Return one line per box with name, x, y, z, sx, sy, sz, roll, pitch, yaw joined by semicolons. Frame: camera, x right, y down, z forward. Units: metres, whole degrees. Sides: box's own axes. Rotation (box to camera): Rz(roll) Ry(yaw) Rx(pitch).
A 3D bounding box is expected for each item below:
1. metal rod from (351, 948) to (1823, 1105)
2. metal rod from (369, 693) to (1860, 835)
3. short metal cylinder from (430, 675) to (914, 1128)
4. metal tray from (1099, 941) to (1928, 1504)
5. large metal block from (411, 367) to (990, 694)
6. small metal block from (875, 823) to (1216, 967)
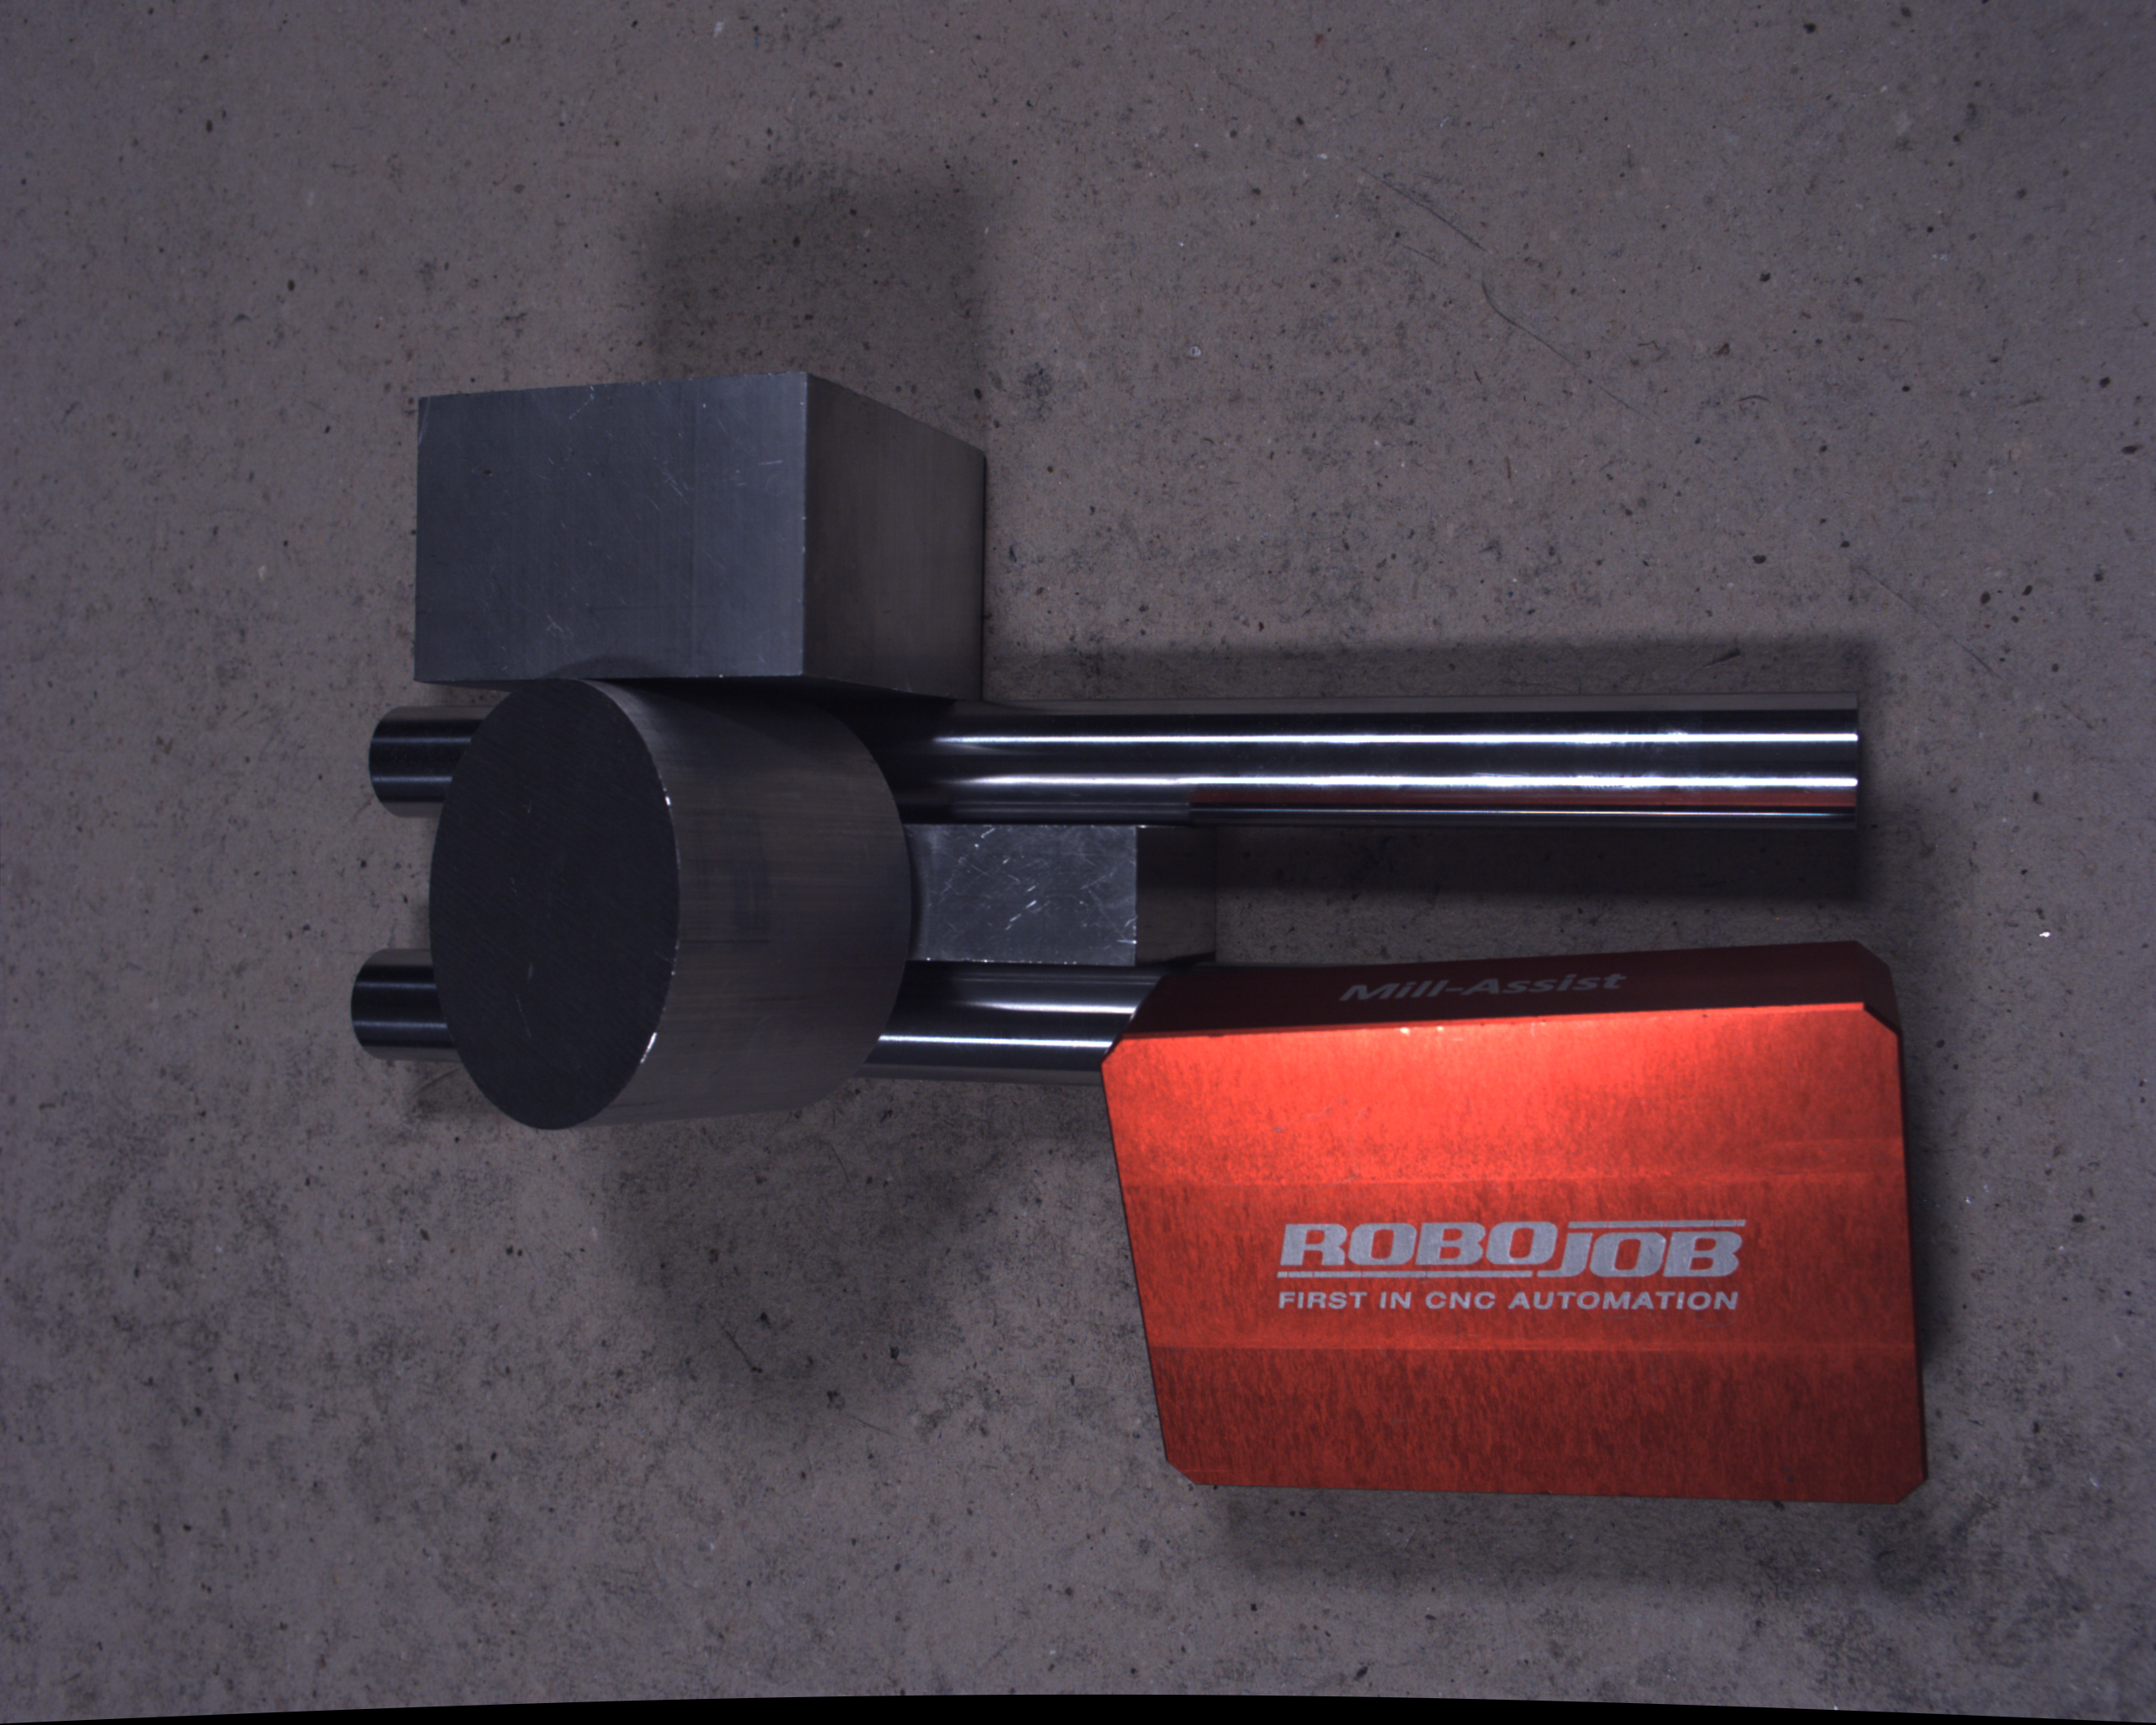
metal rod;-0.011;0.031;0.413;0.301;0.025;0.025;0;90;19
metal rod;-0.006;-0.020;0.412;0.301;0.025;0.025;1;90;19
short metal cylinder;-0.076;0.007;0.385;0.080;0.050;0.080;-2;87;43
metal tray;0.076;0.064;0.365;0.130;0.030;0.089;-4;106;18
large metal block;-0.070;-0.060;0.405;0.080;0.080;0.050;1;91;19
small metal block;-0.005;0.005;0.397;0.050;0.050;0.025;1;91;19
